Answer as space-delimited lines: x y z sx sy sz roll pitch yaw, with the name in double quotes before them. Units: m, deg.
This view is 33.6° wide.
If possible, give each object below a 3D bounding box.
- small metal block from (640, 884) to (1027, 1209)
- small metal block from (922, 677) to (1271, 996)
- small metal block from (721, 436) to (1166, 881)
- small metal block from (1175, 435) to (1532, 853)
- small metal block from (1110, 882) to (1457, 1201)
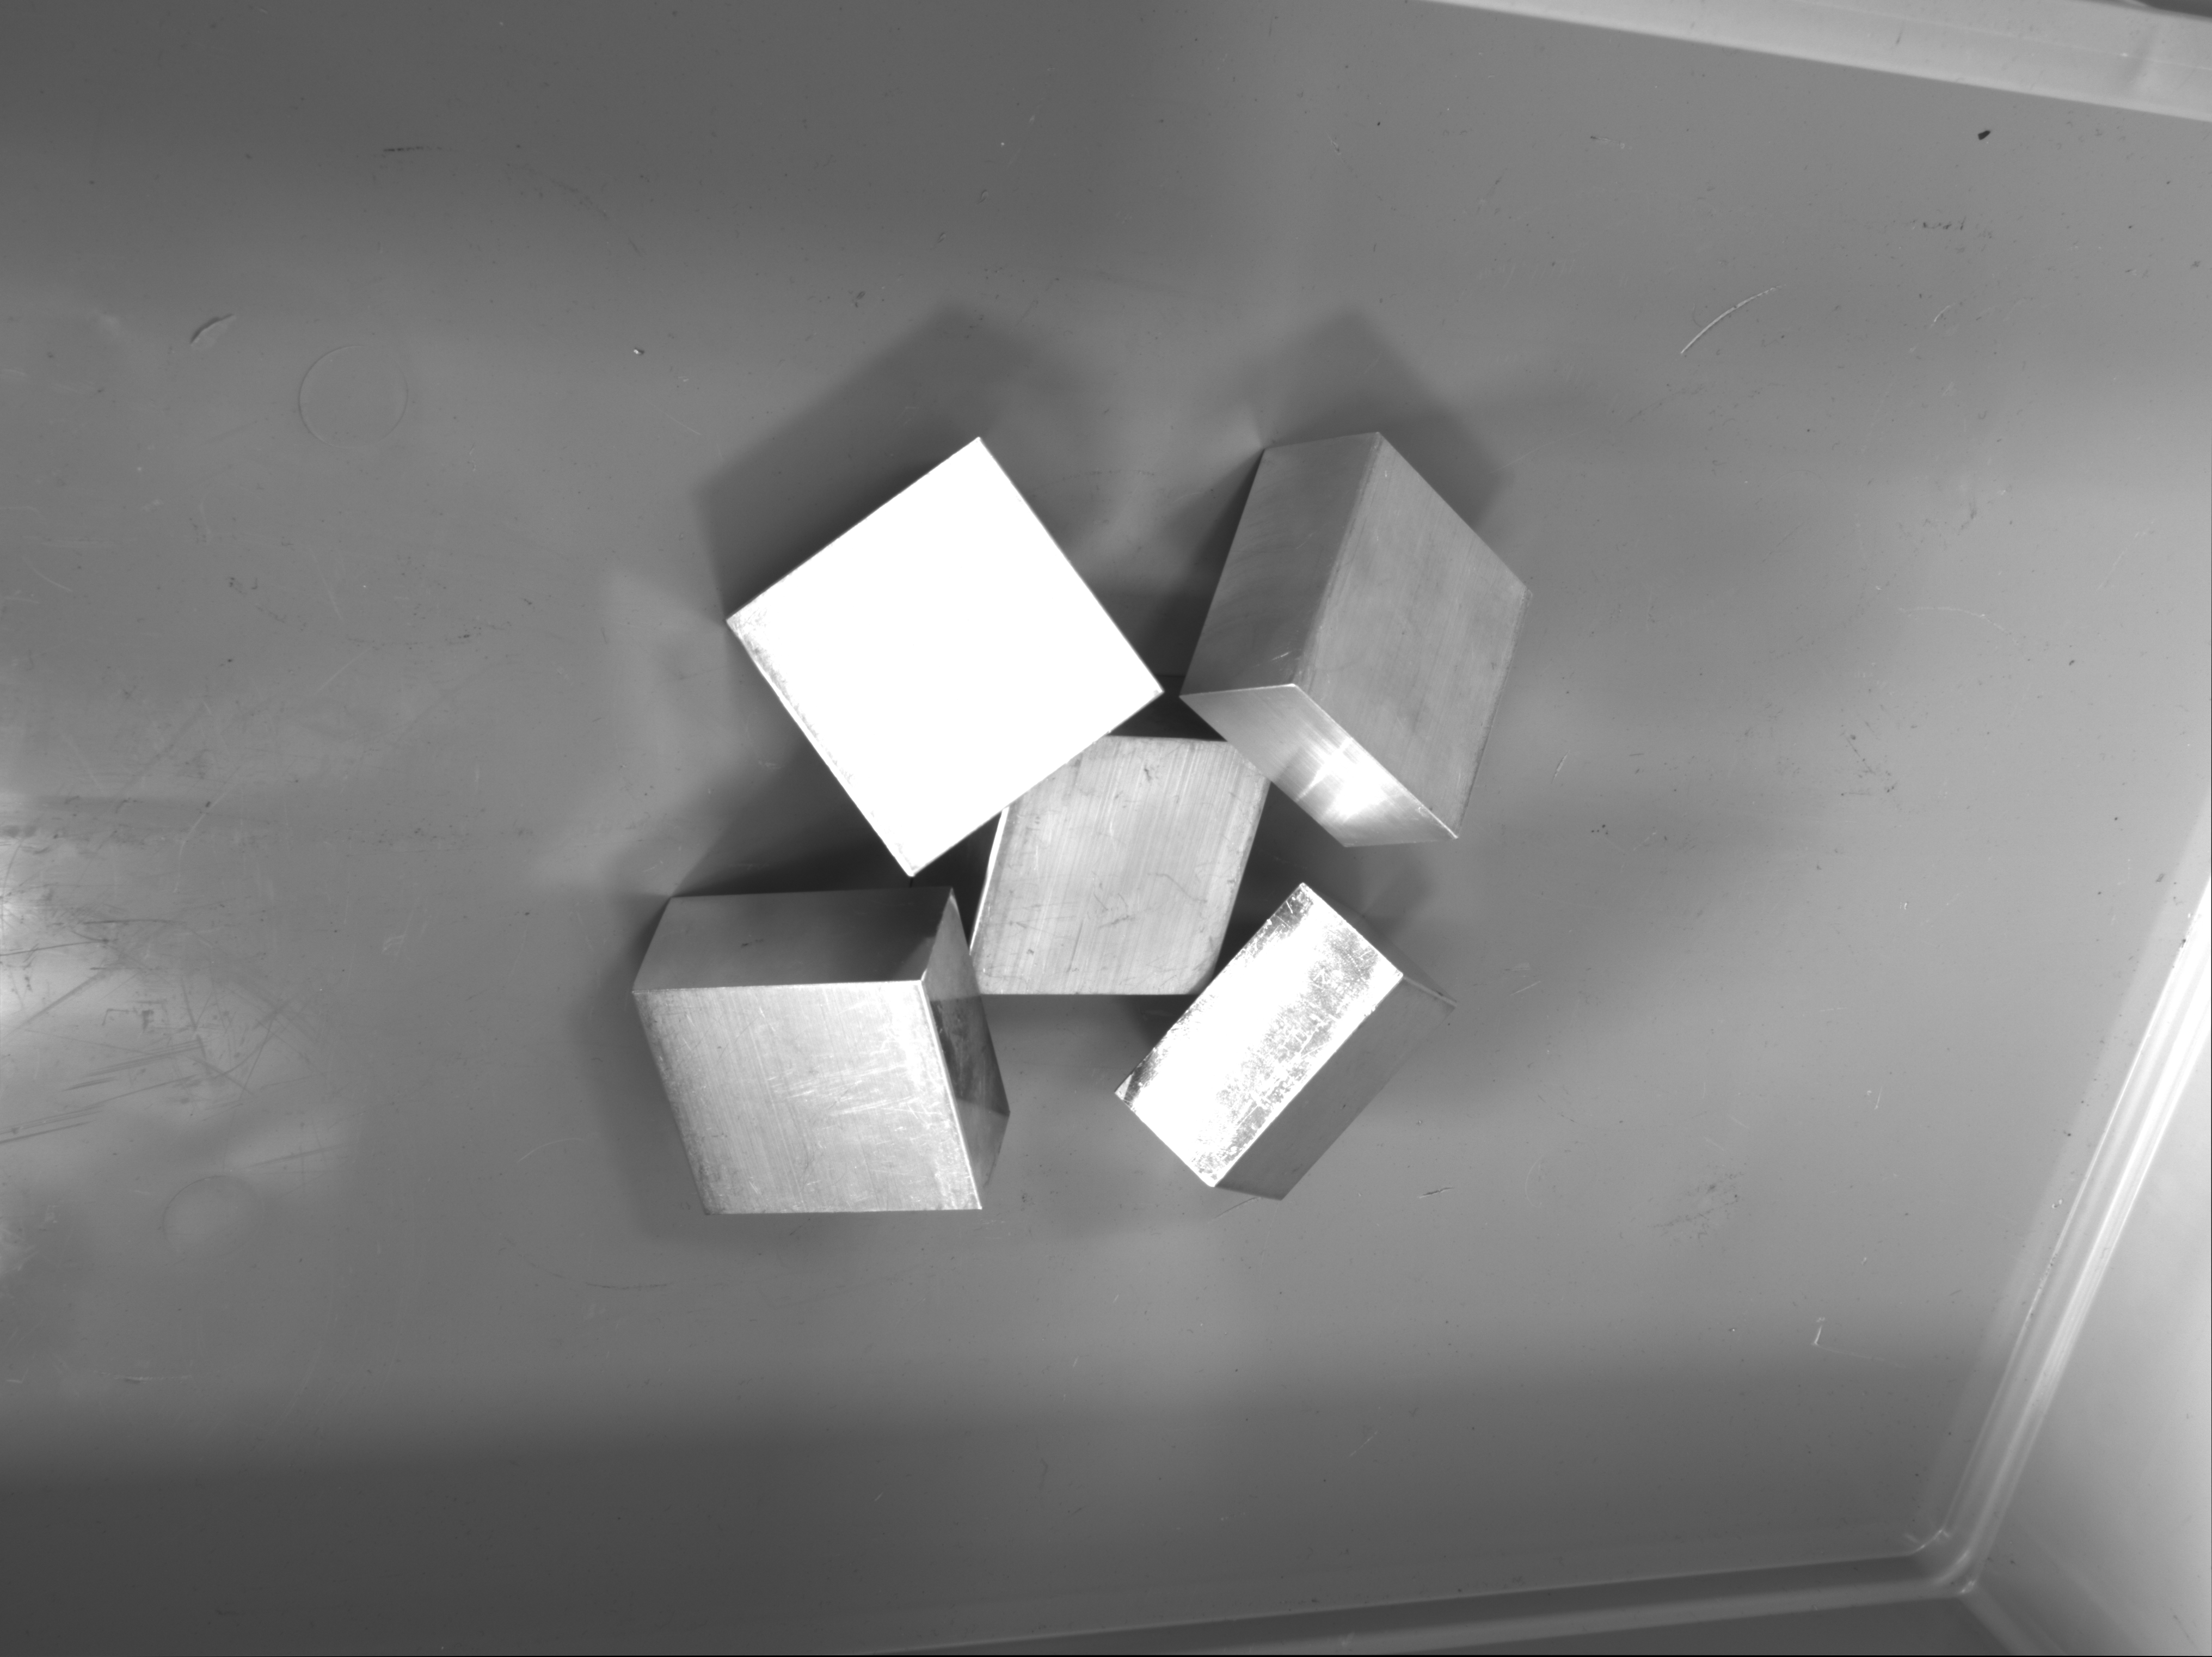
"small metal block" -0.045 0.037 0.618 0.050 0.025 0.050 -1 127 16
"small metal block" -0.002 0.001 0.634 0.050 0.025 0.050 2 117 -29
"small metal block" -0.026 -0.027 0.589 0.050 0.025 0.050 -36 92 -3
"small metal block" 0.043 -0.031 0.624 0.050 0.025 0.050 40 58 -39
"small metal block" 0.033 0.040 0.663 0.050 0.025 0.050 -48 163 5
